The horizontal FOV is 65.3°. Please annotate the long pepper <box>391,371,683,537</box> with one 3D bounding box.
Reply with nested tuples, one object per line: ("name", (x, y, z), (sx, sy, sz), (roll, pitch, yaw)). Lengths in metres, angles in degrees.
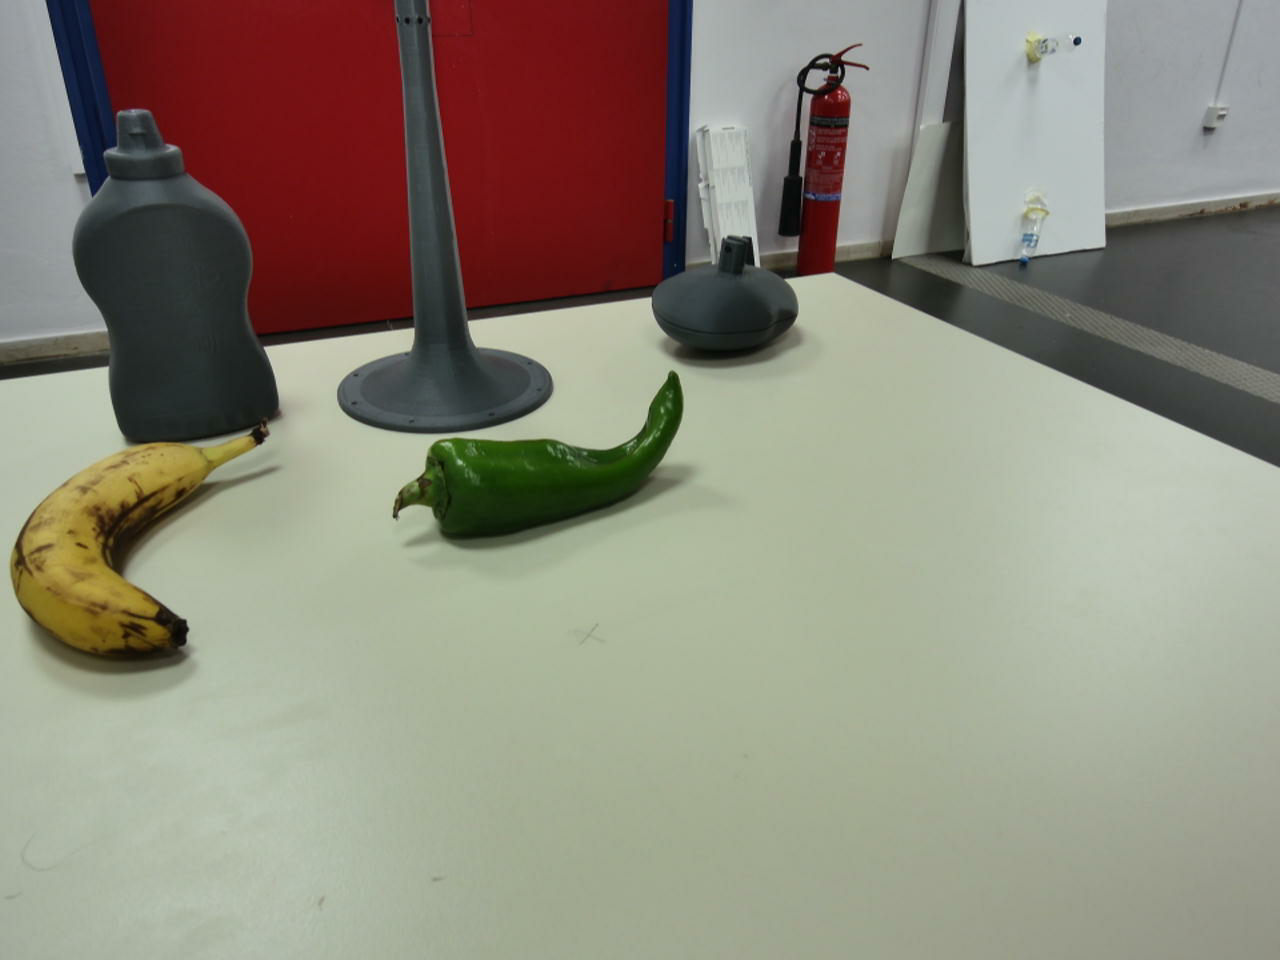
("long pepper", (-0.049, -0.013, 0.539), (0.175, 0.065, 0.058), (-12, 28, -24))
